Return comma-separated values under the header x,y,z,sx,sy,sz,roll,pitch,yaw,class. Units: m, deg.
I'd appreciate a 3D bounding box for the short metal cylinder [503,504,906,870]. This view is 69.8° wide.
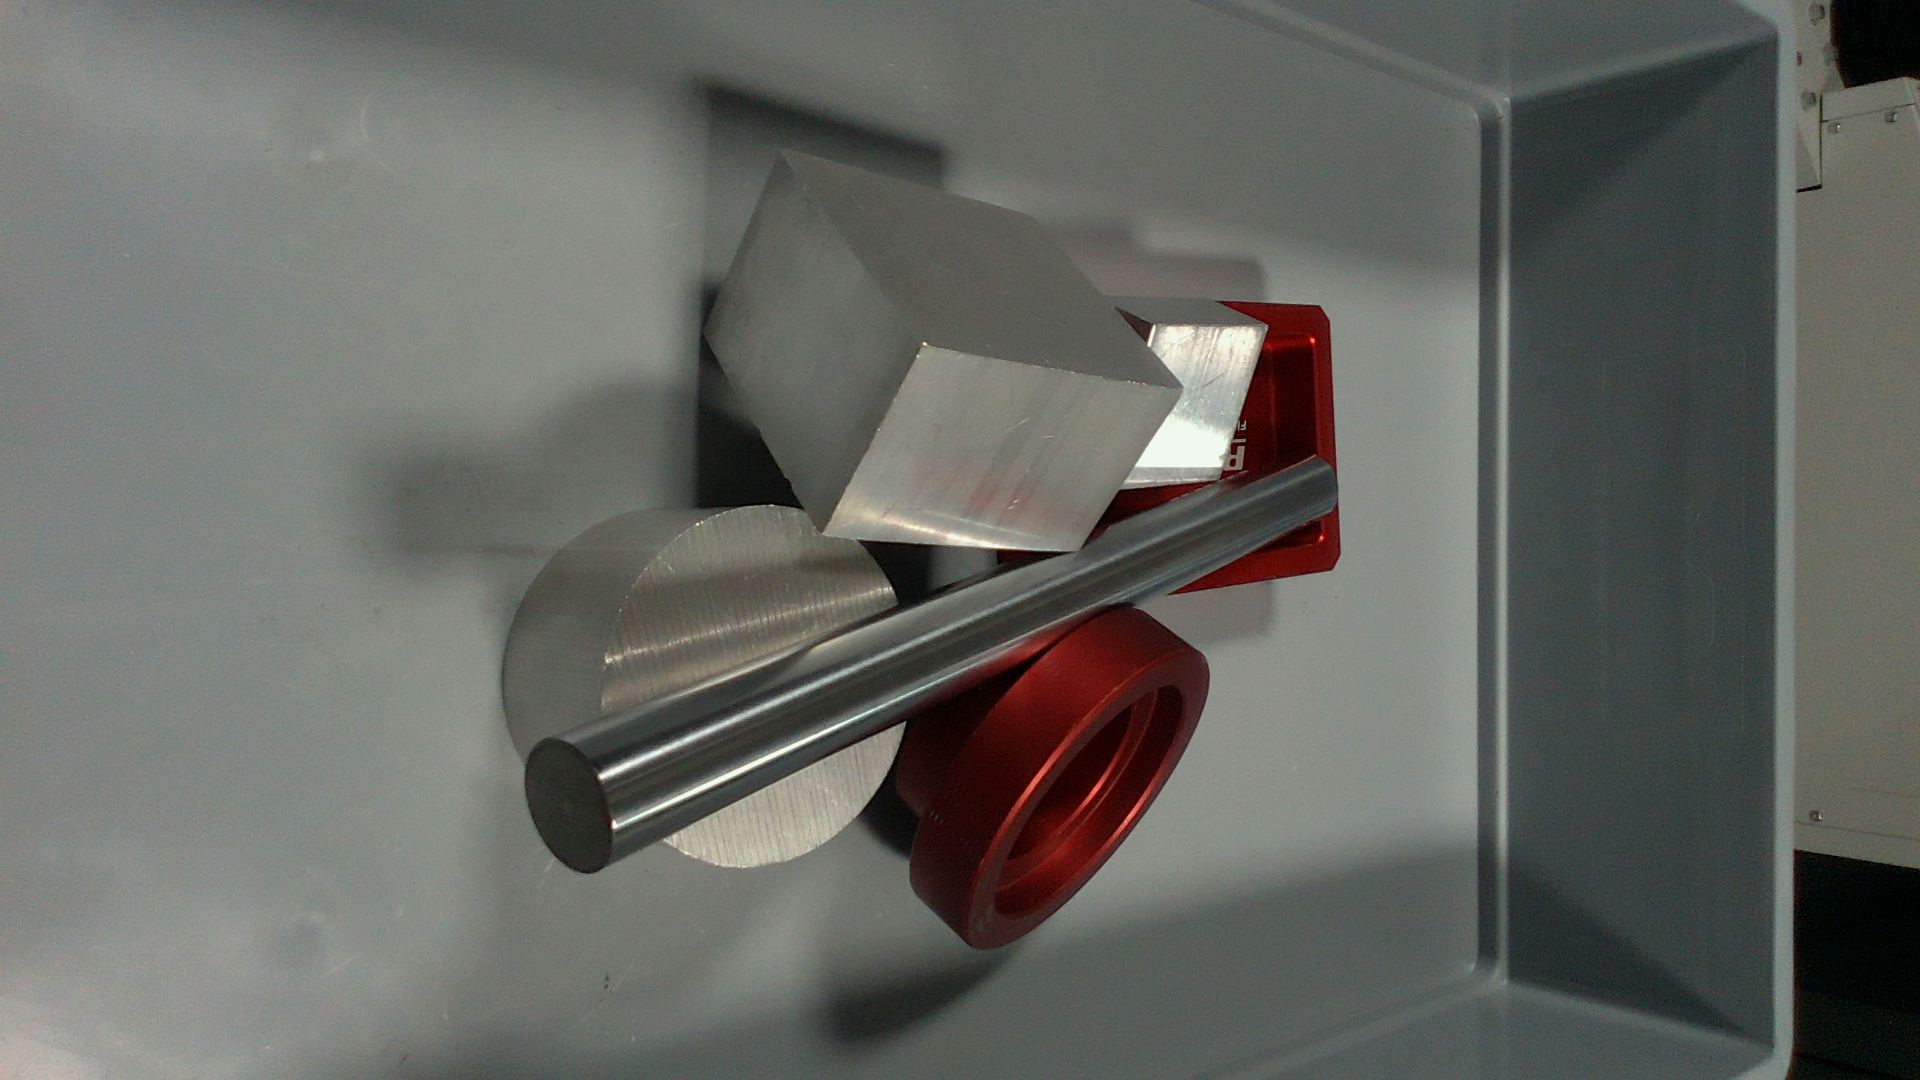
x,y,z,sx,sy,sz,roll,pitch,yaw,class
-0.058,0.032,0.322,0.080,0.050,0.080,0,90,-40,short metal cylinder

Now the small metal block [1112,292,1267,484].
x,y,z,sx,sy,sz,roll,pitch,yaw,class
0.058,-0.045,0.408,0.050,0.025,0.050,-6,120,-39,small metal block

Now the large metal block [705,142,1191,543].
x,y,z,sx,sy,sz,roll,pitch,yaw,class
-0.005,-0.047,0.338,0.080,0.080,0.050,4,130,-39,large metal block

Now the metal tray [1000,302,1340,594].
x,y,z,sx,sy,sz,roll,pitch,yaw,class
0.069,-0.030,0.441,0.131,0.030,0.090,-6,94,-40,metal tray

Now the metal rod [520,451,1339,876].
x,y,z,sx,sy,sz,roll,pitch,yaw,class
0.024,0.014,0.354,0.301,0.025,0.025,-19,102,-49,metal rod

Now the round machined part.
x,y,z,sx,sy,sz,roll,pitch,yaw,class
0.021,0.059,0.373,0.098,0.042,0.098,-37,148,-28,round machined part
